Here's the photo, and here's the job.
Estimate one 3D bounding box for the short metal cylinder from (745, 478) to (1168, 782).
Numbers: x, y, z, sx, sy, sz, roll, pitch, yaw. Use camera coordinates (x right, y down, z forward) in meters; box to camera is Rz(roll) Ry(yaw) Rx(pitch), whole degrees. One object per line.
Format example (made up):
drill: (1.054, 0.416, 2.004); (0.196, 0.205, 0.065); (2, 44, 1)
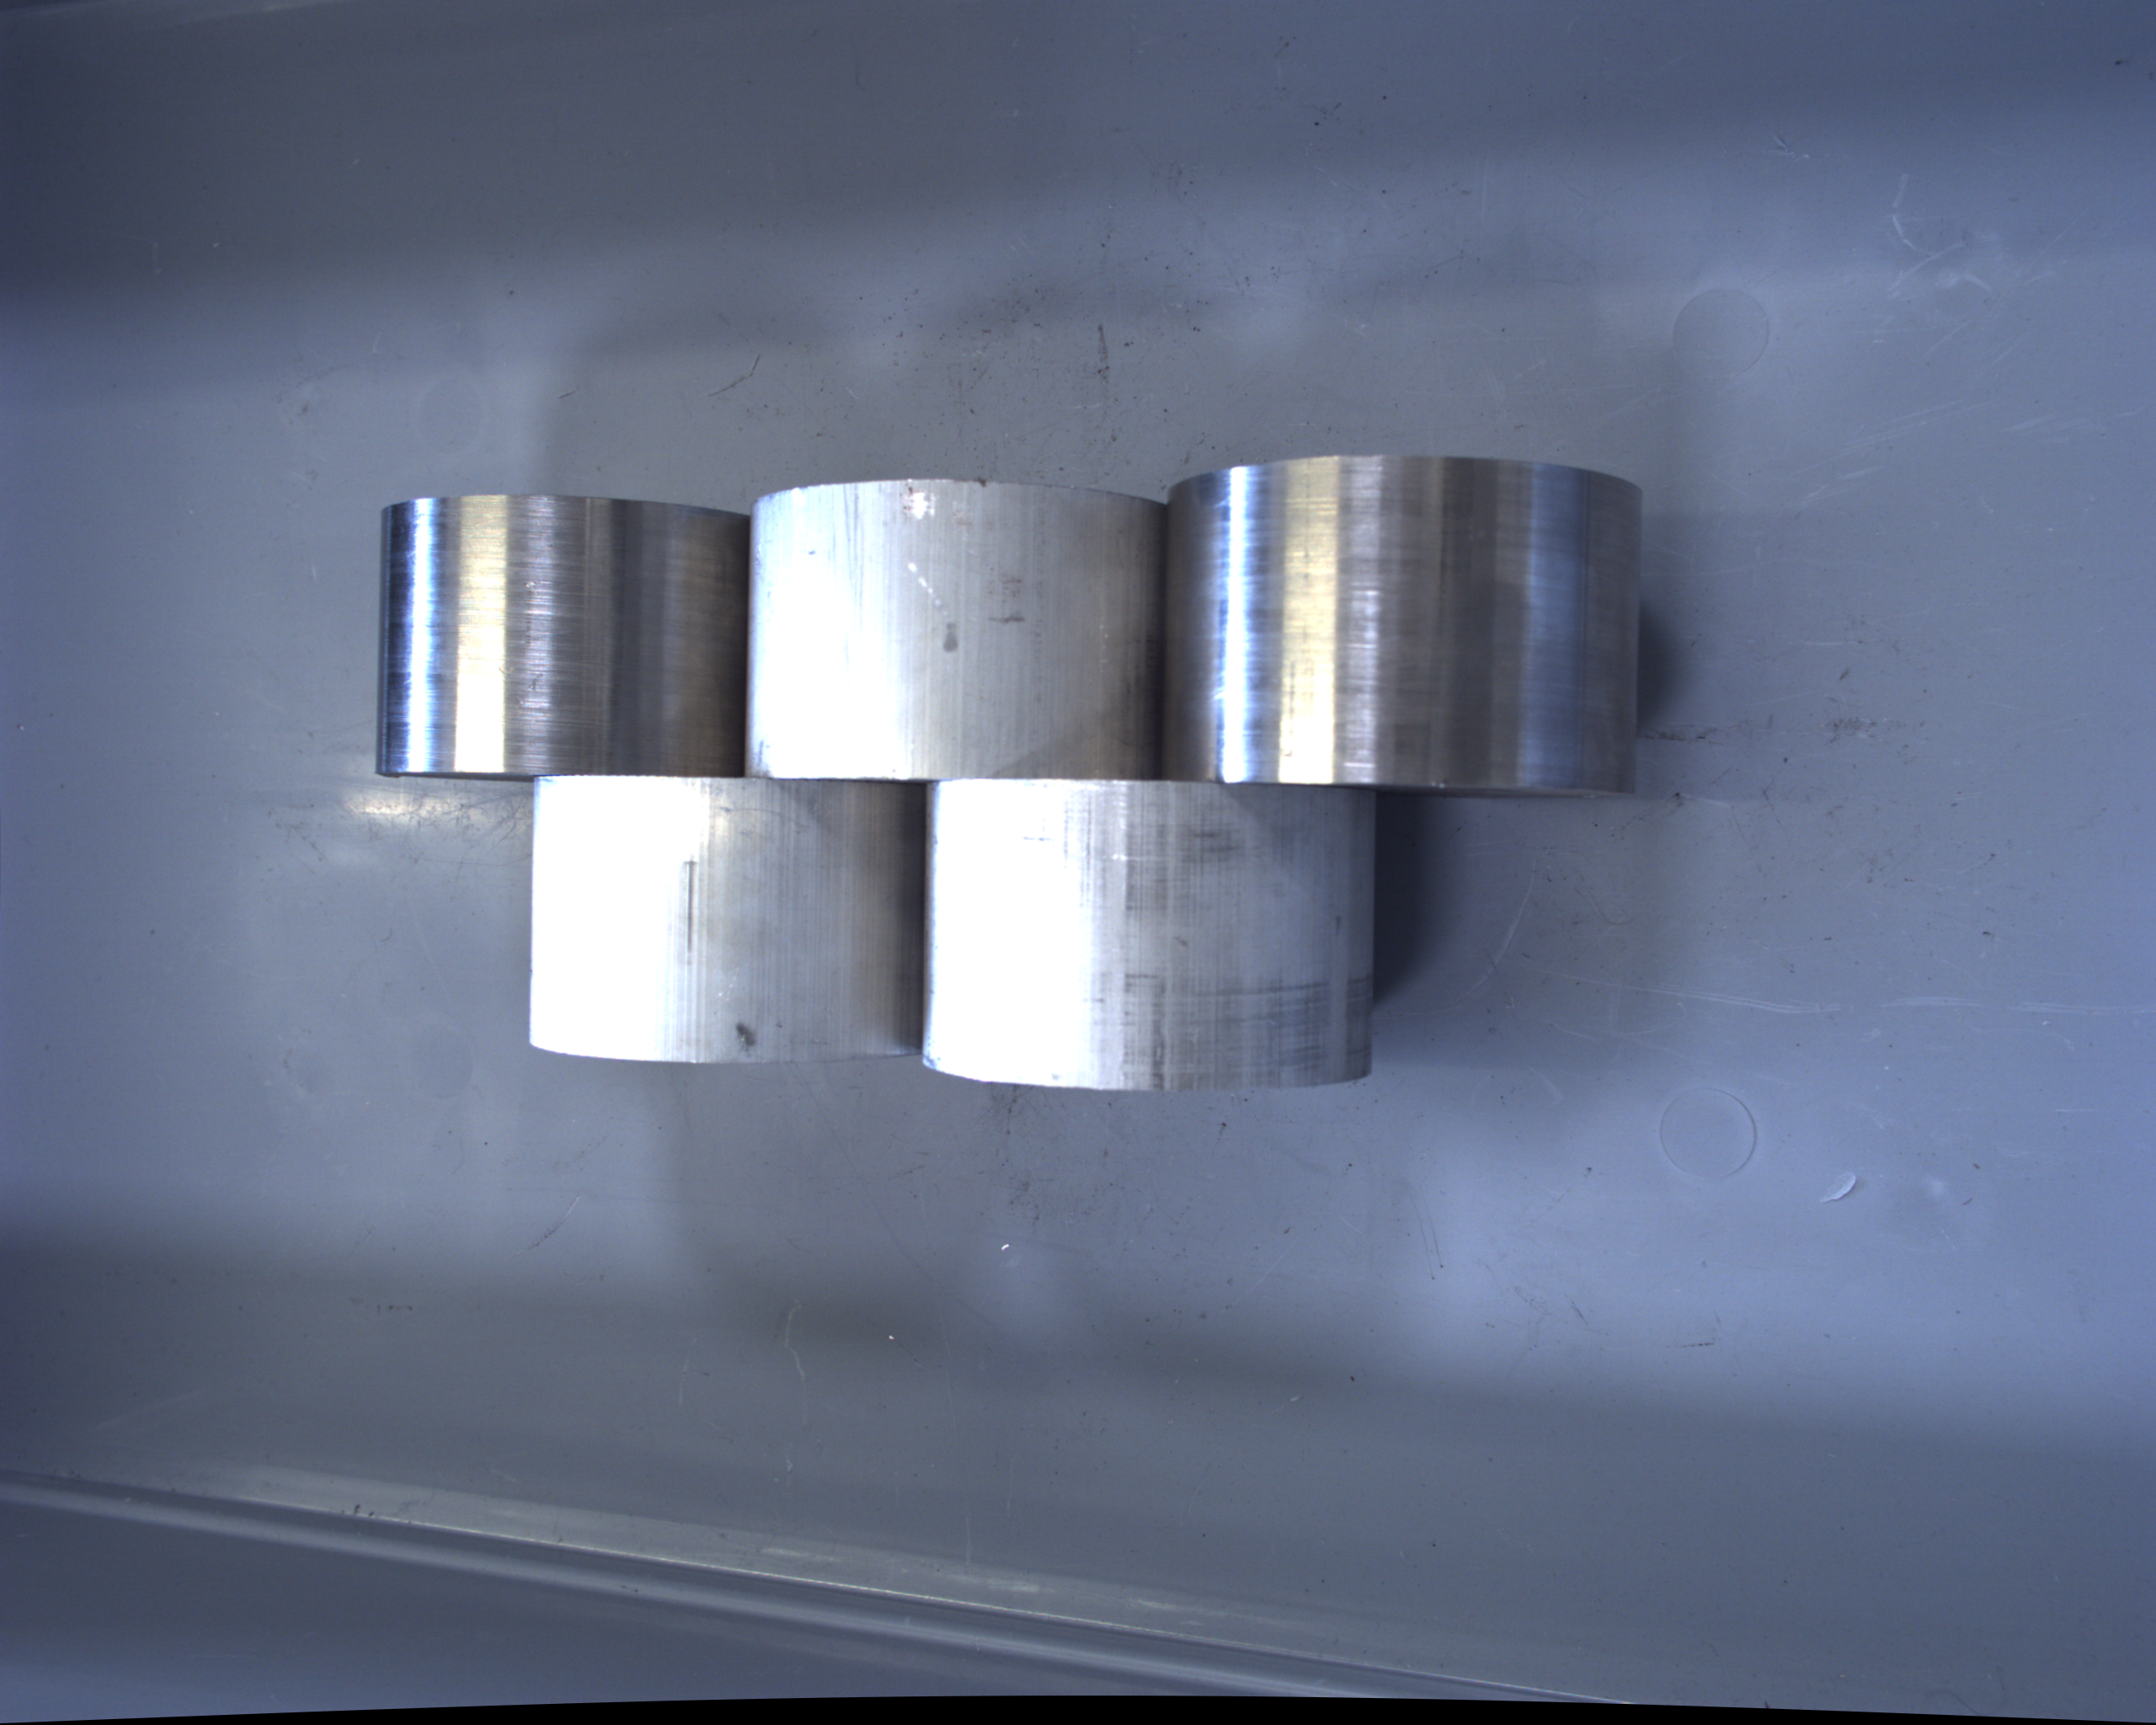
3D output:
short metal cylinder: (-0.021, -0.040, 0.387); (0.080, 0.080, 0.050); (1, 91, 20)

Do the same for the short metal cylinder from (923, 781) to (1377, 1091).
short metal cylinder: (0.013, 0.011, 0.375); (0.080, 0.080, 0.050); (1, 91, 20)

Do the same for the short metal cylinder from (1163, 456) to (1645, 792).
short metal cylinder: (0.055, -0.038, 0.360); (0.080, 0.080, 0.050); (2, 91, 20)

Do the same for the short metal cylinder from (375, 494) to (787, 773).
short metal cylinder: (-0.097, -0.042, 0.414); (0.080, 0.080, 0.050); (1, 91, 20)

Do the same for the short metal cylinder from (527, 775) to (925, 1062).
short metal cylinder: (-0.064, 0.009, 0.402); (0.080, 0.080, 0.050); (1, 91, 20)
